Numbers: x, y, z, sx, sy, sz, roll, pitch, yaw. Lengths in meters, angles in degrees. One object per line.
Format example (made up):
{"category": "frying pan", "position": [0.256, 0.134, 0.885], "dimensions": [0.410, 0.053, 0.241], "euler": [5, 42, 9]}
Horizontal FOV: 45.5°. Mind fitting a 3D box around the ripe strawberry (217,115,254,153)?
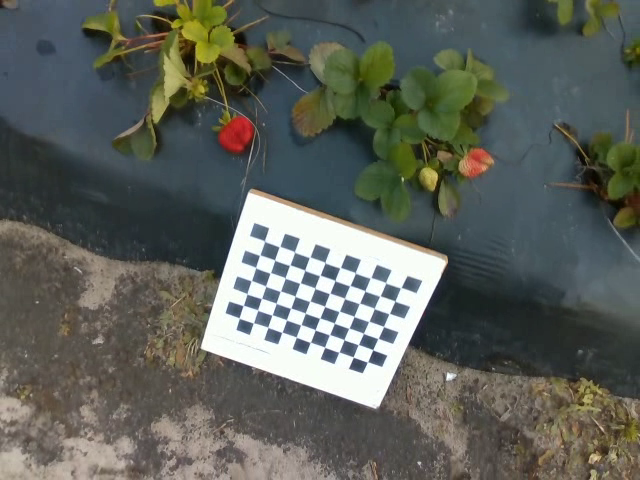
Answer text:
{"category": "ripe strawberry", "position": [-0.031, -0.038, 0.284], "dimensions": [0.017, 0.015, 0.013], "euler": [-45, -32, 23]}
